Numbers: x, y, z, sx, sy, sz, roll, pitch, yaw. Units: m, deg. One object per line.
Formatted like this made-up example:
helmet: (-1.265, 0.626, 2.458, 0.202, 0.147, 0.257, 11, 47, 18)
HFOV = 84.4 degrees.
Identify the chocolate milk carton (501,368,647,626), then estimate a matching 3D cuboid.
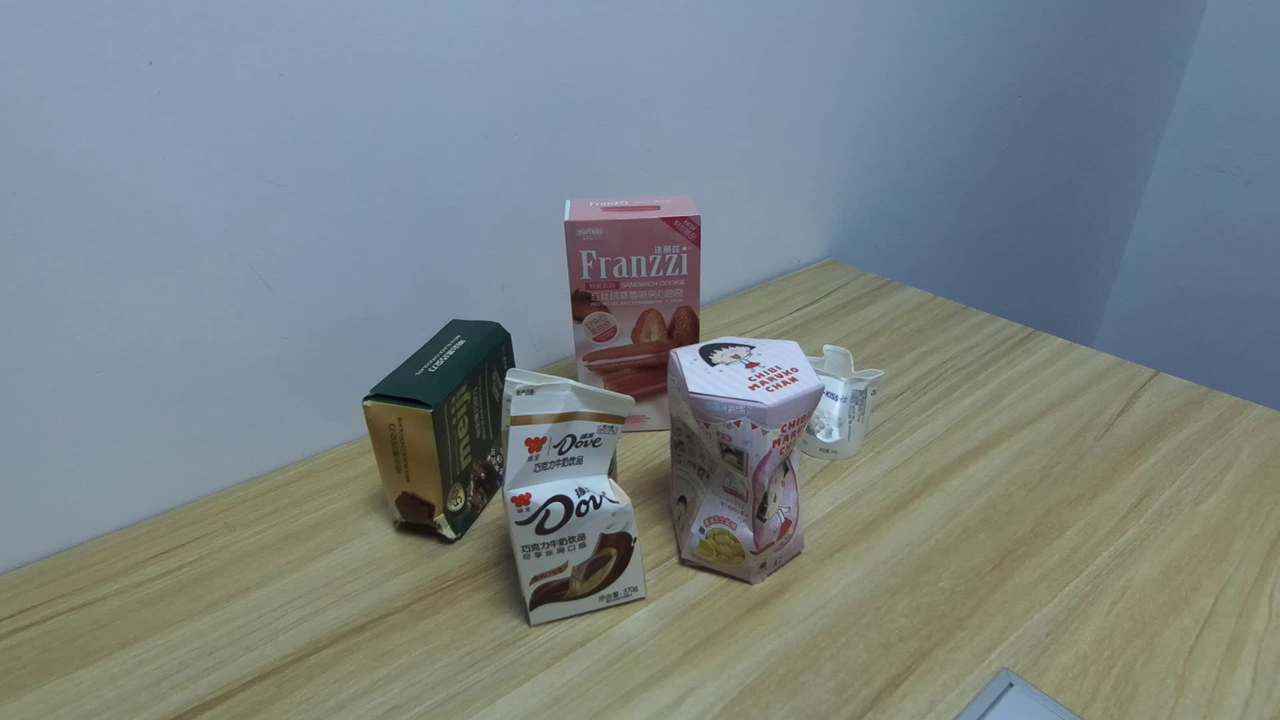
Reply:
chocolate milk carton: (-0.042, 0.069, 0.408, 0.076, 0.156, 0.073, -9, 32, -12)

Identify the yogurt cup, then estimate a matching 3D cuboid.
yogurt cup: (0.149, 0.032, 0.542, 0.055, 0.072, 0.054, -16, 33, -27)

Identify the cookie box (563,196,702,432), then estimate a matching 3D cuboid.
cookie box: (-0.003, -0.030, 0.548, 0.096, 0.185, 0.048, -2, 31, -1)

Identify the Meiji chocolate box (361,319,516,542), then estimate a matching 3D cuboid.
Meiji chocolate box: (-0.132, 0.045, 0.497, 0.058, 0.116, 0.123, 9, 31, 17)

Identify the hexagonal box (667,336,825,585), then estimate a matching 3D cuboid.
hexagonal box: (0.060, 0.061, 0.433, 0.093, 0.135, 0.089, 8, 31, 15)
